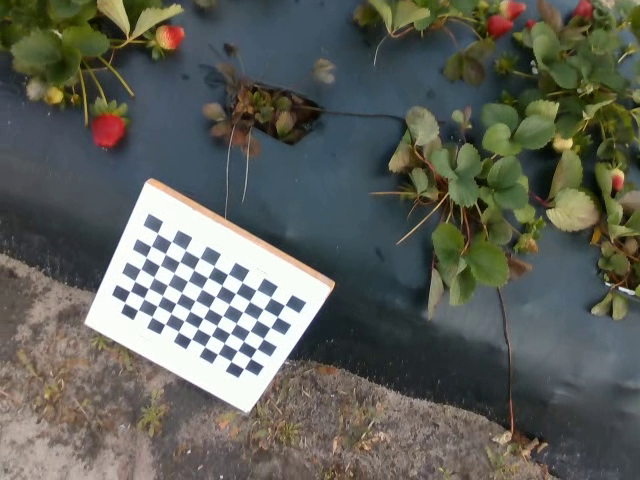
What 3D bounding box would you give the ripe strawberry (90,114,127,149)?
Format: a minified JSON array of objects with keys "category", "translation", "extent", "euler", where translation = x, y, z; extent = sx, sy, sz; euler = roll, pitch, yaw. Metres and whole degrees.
[{"category":"ripe strawberry","translation":[-0.276,-0.137,0.900],"extent":[0.046,0.054,0.042],"euler":[-13,-40,22]}]
